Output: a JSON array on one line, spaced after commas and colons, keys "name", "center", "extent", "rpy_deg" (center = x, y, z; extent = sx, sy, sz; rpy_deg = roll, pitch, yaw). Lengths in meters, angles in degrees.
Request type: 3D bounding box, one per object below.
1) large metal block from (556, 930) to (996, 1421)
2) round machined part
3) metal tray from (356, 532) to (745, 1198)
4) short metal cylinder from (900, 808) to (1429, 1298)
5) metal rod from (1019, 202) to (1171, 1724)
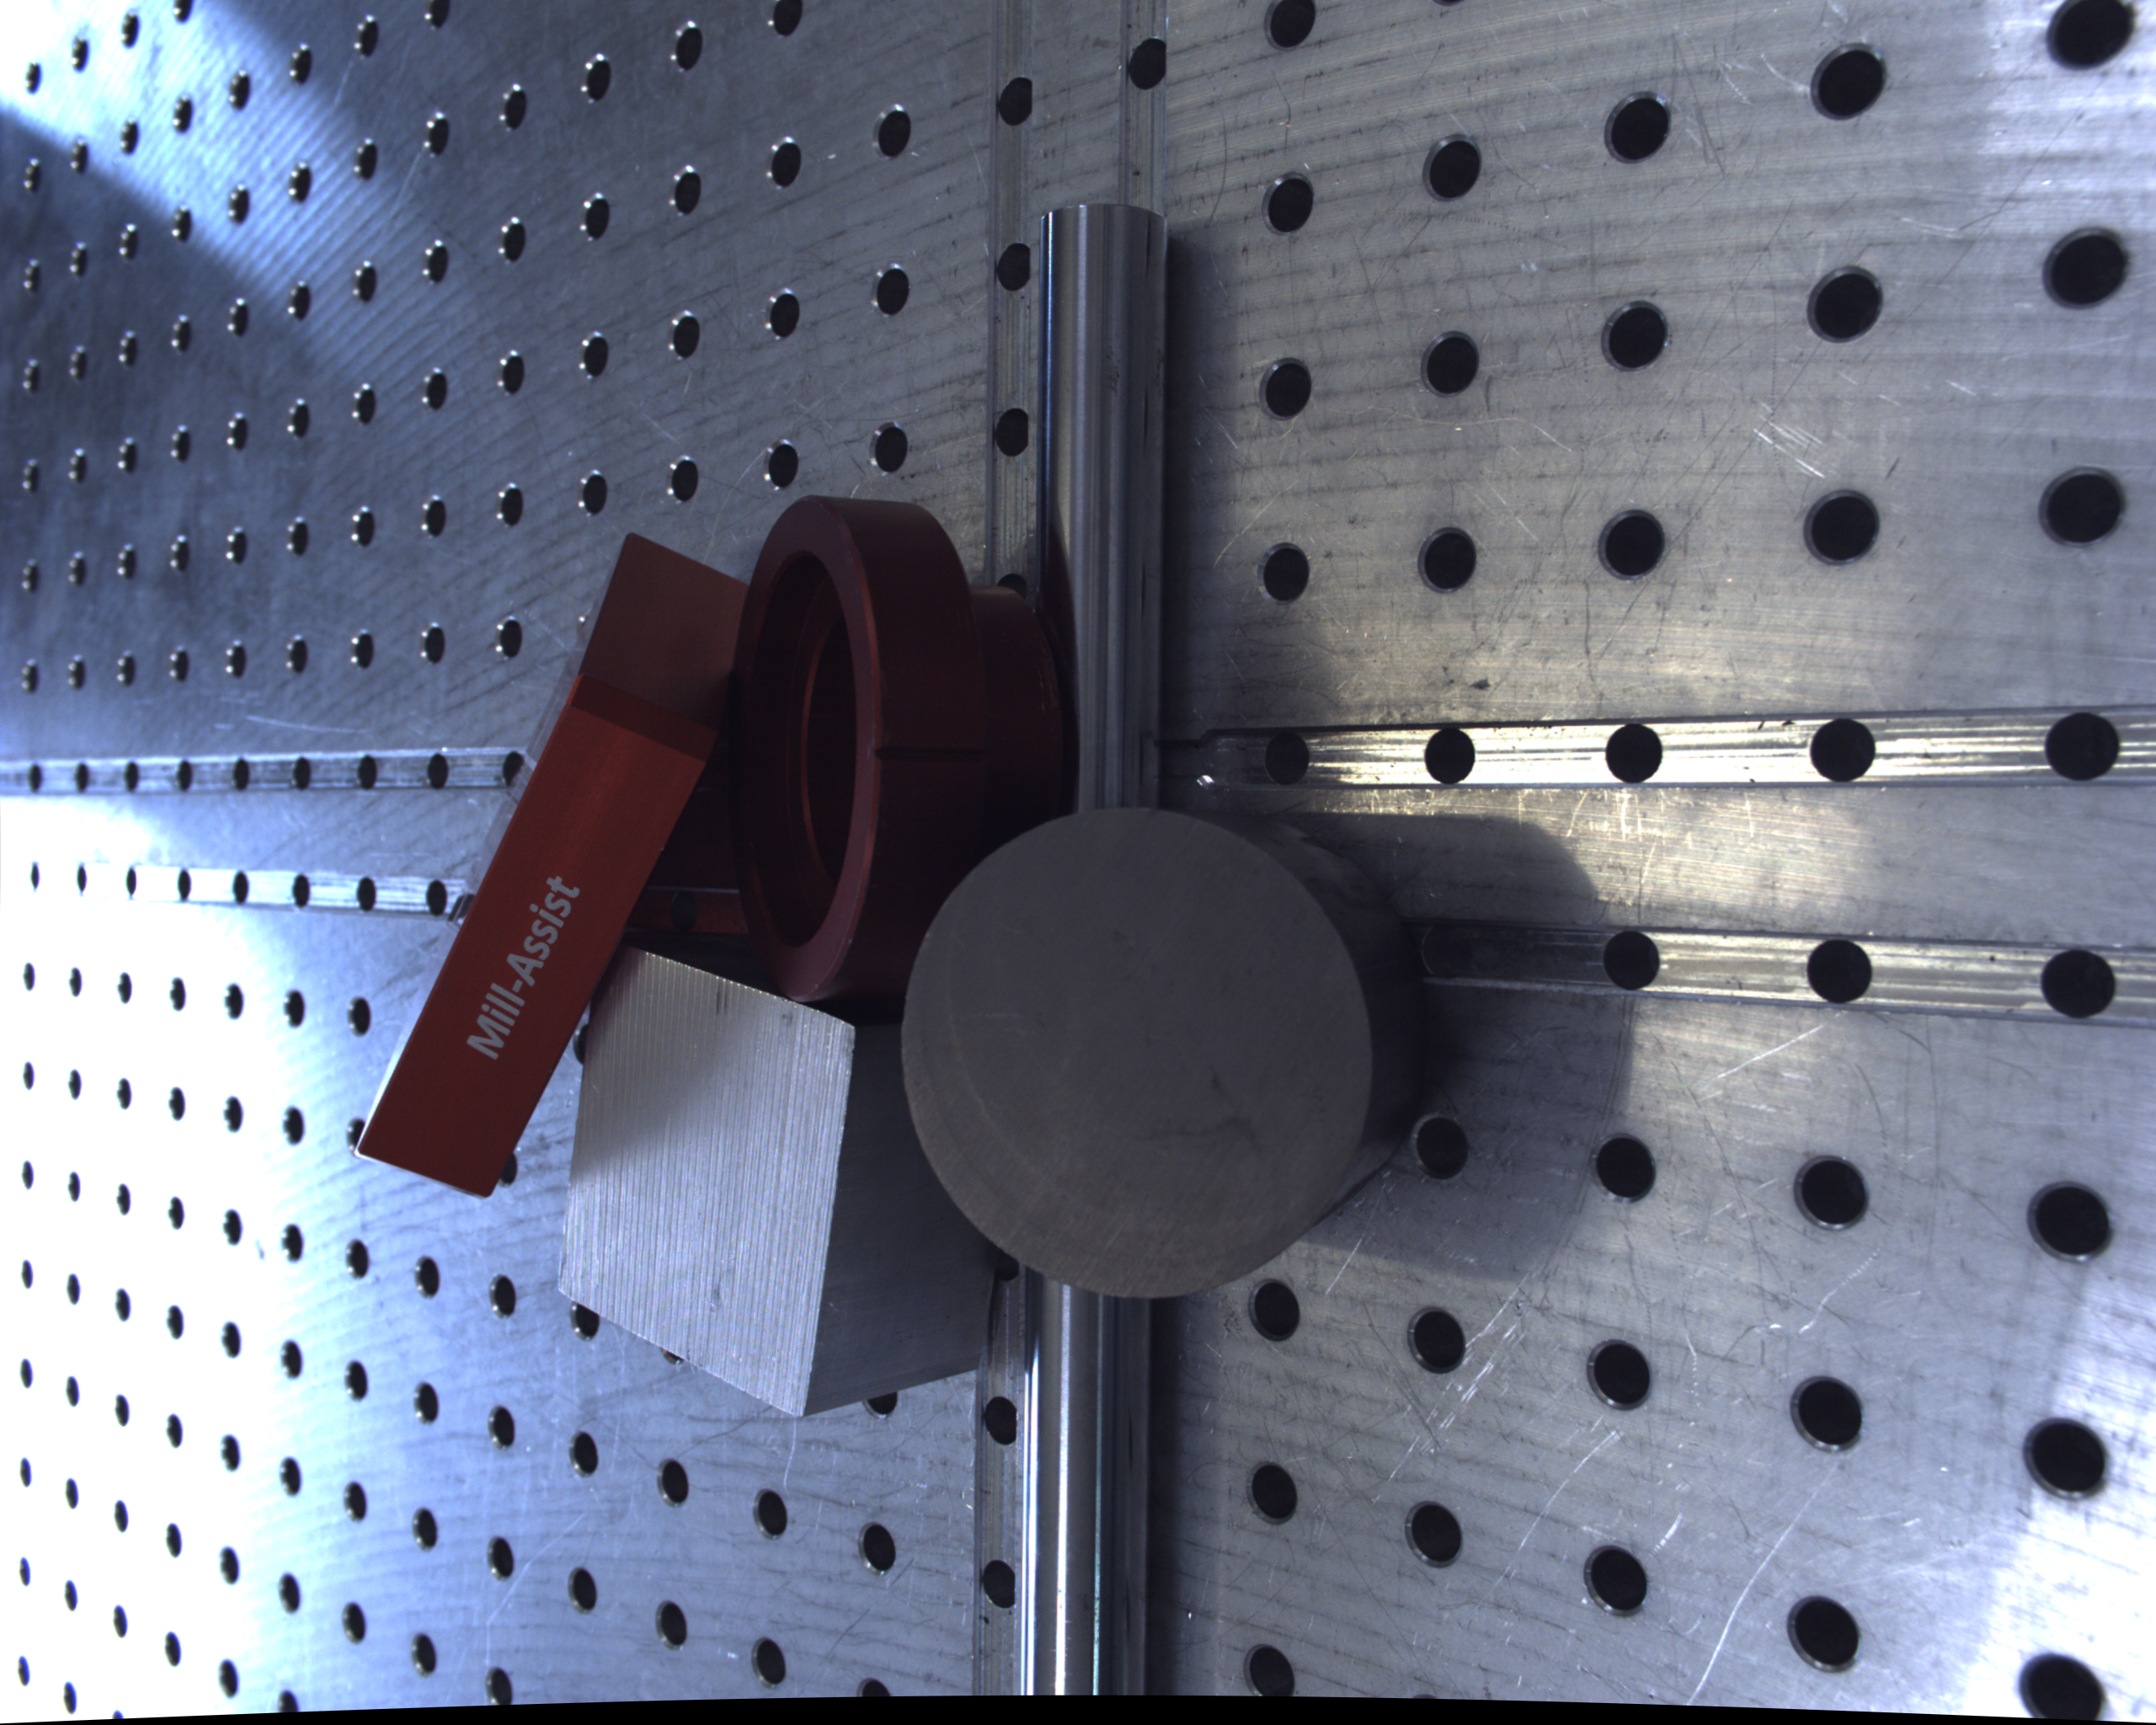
[{"name": "large metal block", "center": [-0.062, 0.062, 0.444], "extent": [0.080, 0.050, 0.079], "rpy_deg": [14, 99, 39]}, {"name": "round machined part", "center": [-0.036, -0.022, 0.412], "extent": [0.098, 0.042, 0.097], "rpy_deg": [-178, 90, -65]}, {"name": "metal tray", "center": [-0.118, 0.000, 0.471], "extent": [0.129, 0.030, 0.090], "rpy_deg": [-59, 18, 23]}, {"name": "short metal cylinder", "center": [0.016, 0.031, 0.363], "extent": [0.080, 0.050, 0.079], "rpy_deg": [0, 90, 20]}, {"name": "metal rod", "center": [0.003, 0.024, 0.408], "extent": [0.025, 0.025, 0.298], "rpy_deg": [1, 91, 40]}]
